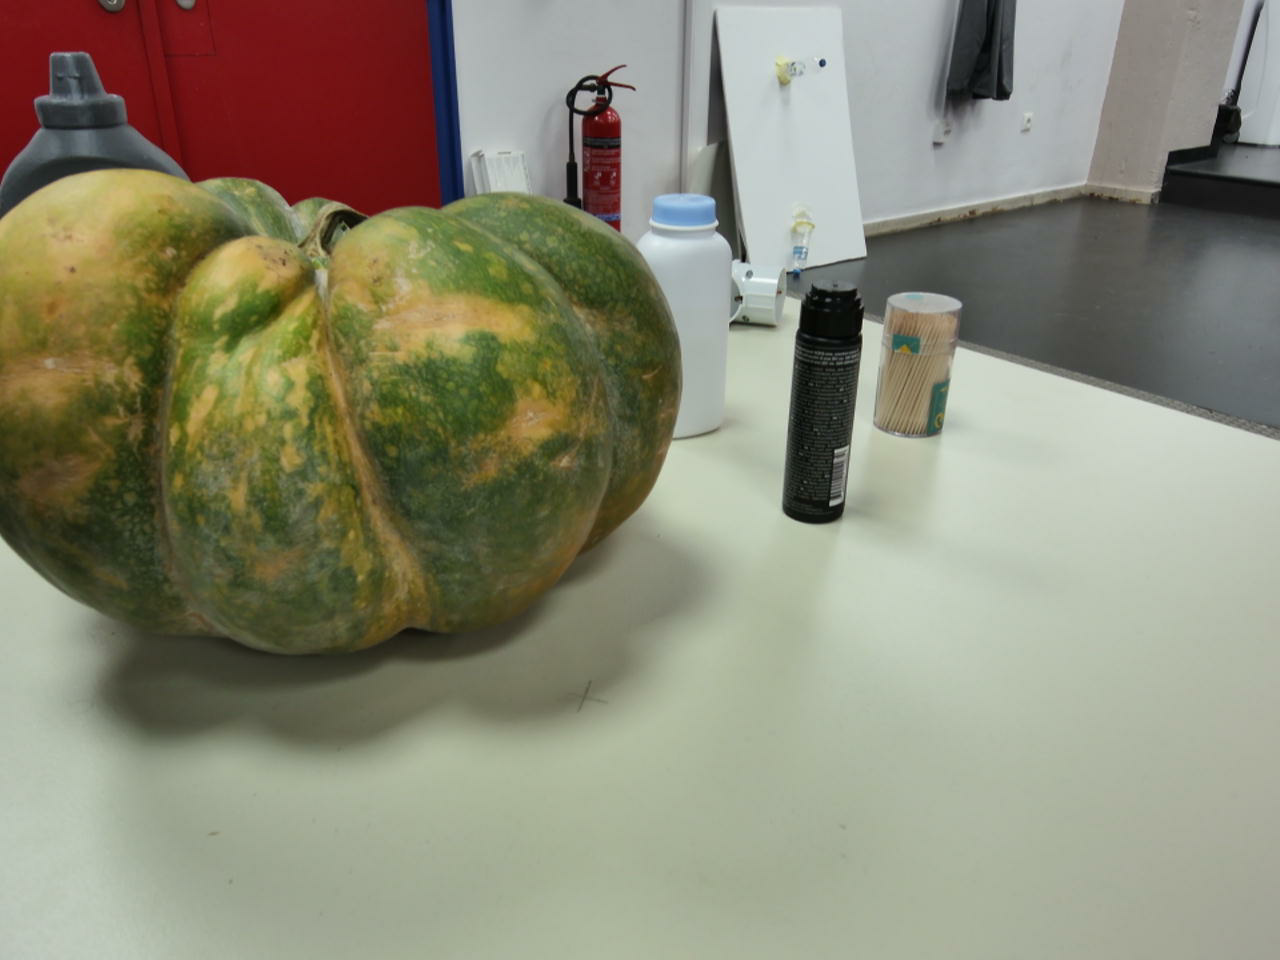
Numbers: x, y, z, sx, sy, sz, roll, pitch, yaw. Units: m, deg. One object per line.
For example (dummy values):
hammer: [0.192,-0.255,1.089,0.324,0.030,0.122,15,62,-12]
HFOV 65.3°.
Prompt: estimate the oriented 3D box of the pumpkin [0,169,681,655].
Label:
pumpkin: [-0.121,-0.038,0.390,0.270,0.173,0.237,-1,24,-2]
